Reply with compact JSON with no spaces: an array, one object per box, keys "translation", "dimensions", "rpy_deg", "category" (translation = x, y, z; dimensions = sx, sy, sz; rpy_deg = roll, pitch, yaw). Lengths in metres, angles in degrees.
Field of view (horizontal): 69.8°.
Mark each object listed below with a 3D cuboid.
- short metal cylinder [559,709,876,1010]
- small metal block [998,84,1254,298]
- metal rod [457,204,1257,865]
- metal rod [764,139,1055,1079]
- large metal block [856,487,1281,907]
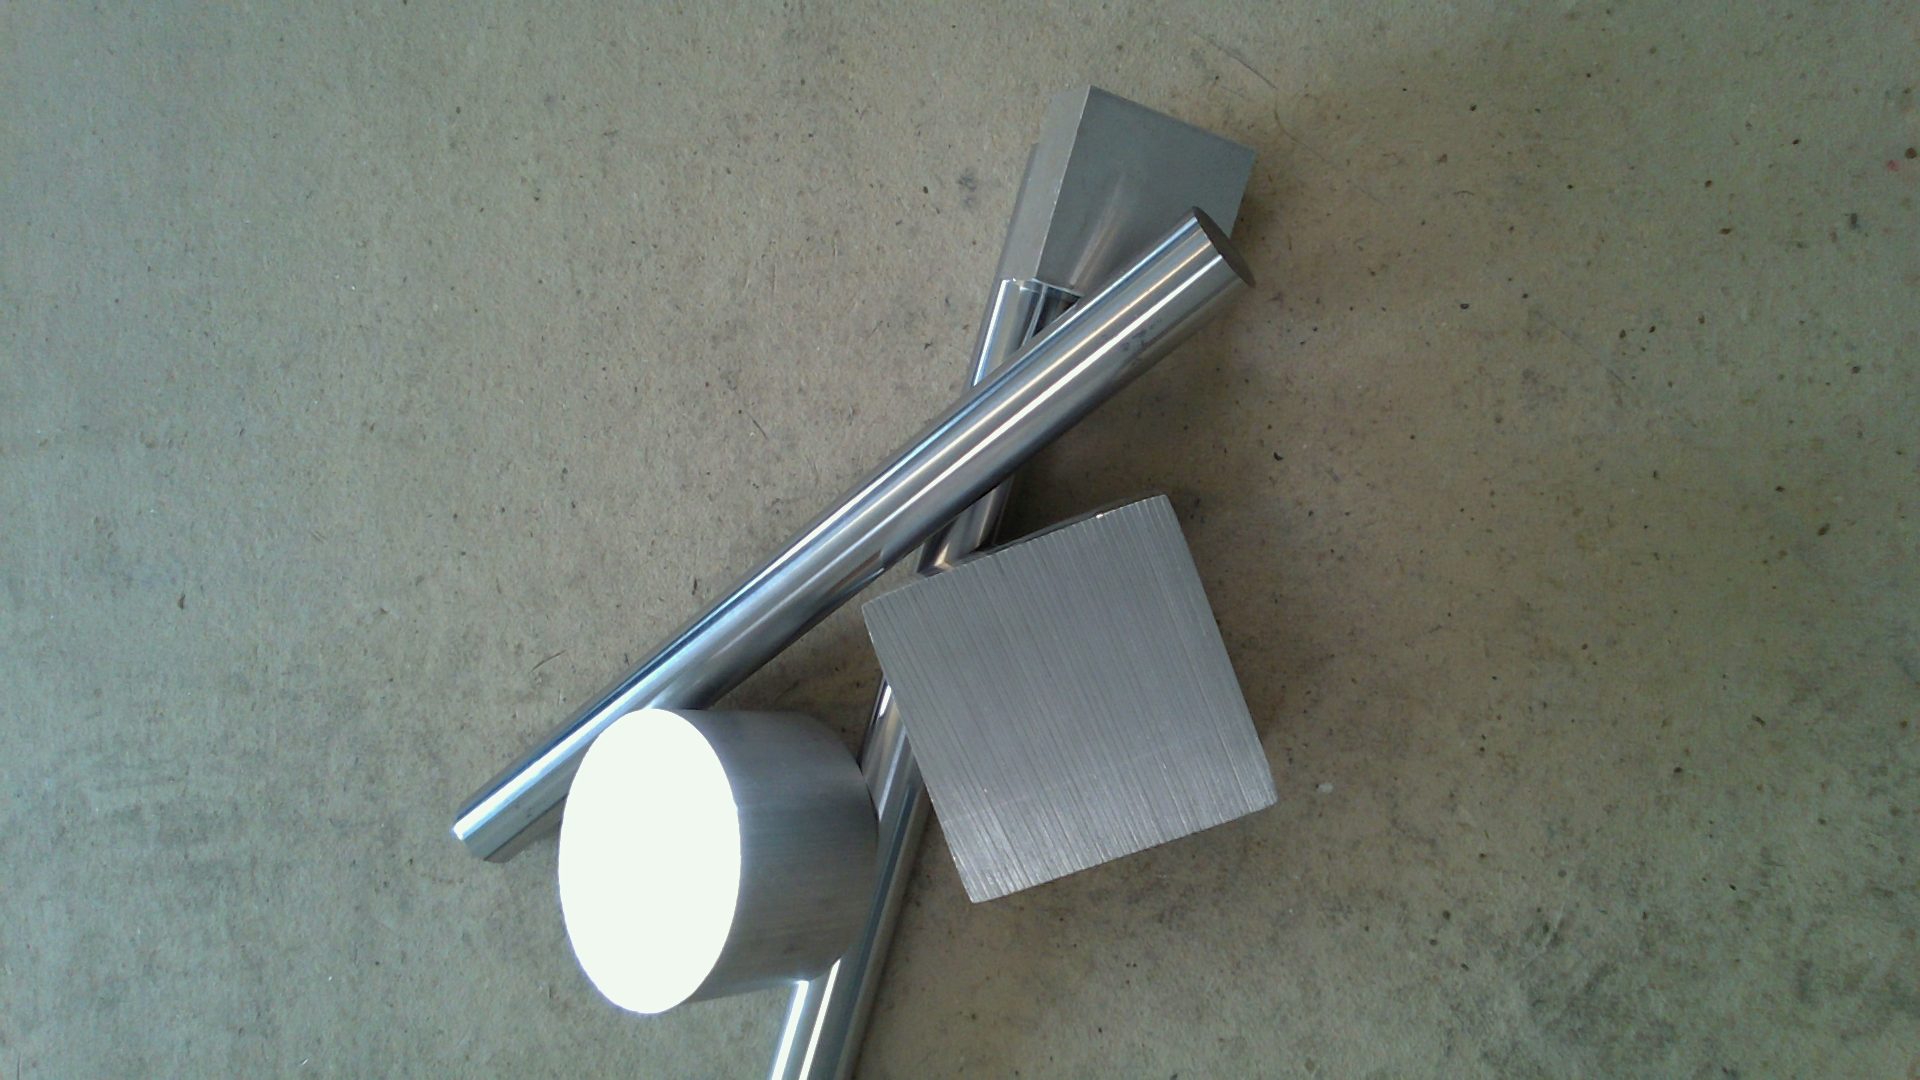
[{"translation":[-0.070,0.089,0.395],"dimensions":[0.080,0.050,0.080],"rpy_deg":[-7,79,40],"category":"short metal cylinder"},{"translation":[0.044,-0.087,0.367],"dimensions":[0.050,0.025,0.050],"rpy_deg":[14,96,-21],"category":"small metal block"},{"translation":[-0.045,0.012,0.394],"dimensions":[0.299,0.025,0.025],"rpy_deg":[-37,78,23],"category":"metal rod"},{"translation":[-0.010,0.036,0.399],"dimensions":[0.025,0.025,0.300],"rpy_deg":[18,96,19],"category":"metal rod"},{"translation":[0.028,0.037,0.357],"dimensions":[0.080,0.050,0.080],"rpy_deg":[-20,92,6],"category":"large metal block"}]
